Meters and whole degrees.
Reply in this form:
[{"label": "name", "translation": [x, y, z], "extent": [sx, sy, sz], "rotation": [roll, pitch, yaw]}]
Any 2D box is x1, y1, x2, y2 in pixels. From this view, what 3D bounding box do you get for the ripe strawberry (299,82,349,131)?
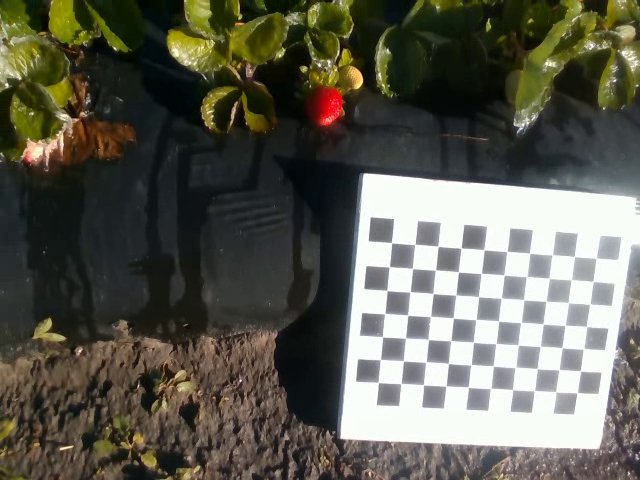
[{"label": "ripe strawberry", "translation": [0.005, -0.096, 0.434], "extent": [0.039, 0.040, 0.039], "rotation": [-4, 34, 5]}]
